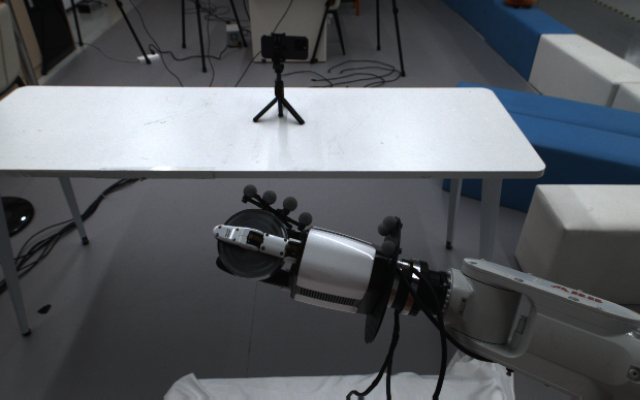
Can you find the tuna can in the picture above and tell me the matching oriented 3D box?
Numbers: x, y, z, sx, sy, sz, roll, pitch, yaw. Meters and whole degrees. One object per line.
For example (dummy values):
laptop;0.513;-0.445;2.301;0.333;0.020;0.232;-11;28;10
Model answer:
tuna can;-0.078;0.055;0.596;0.085;0.034;0.085;0;72;0
